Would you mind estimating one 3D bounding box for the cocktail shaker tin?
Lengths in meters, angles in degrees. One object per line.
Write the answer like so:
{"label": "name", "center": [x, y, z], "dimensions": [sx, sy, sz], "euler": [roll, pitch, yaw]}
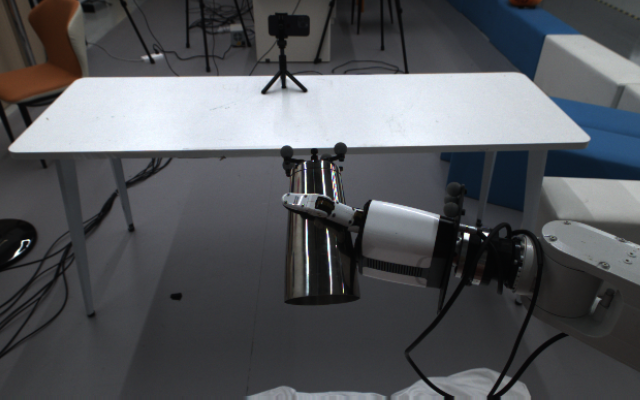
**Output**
{"label": "cocktail shaker tin", "center": [-0.002, 0.041, 0.605], "dimensions": [0.093, 0.093, 0.170], "euler": [-2, 70, -5]}
